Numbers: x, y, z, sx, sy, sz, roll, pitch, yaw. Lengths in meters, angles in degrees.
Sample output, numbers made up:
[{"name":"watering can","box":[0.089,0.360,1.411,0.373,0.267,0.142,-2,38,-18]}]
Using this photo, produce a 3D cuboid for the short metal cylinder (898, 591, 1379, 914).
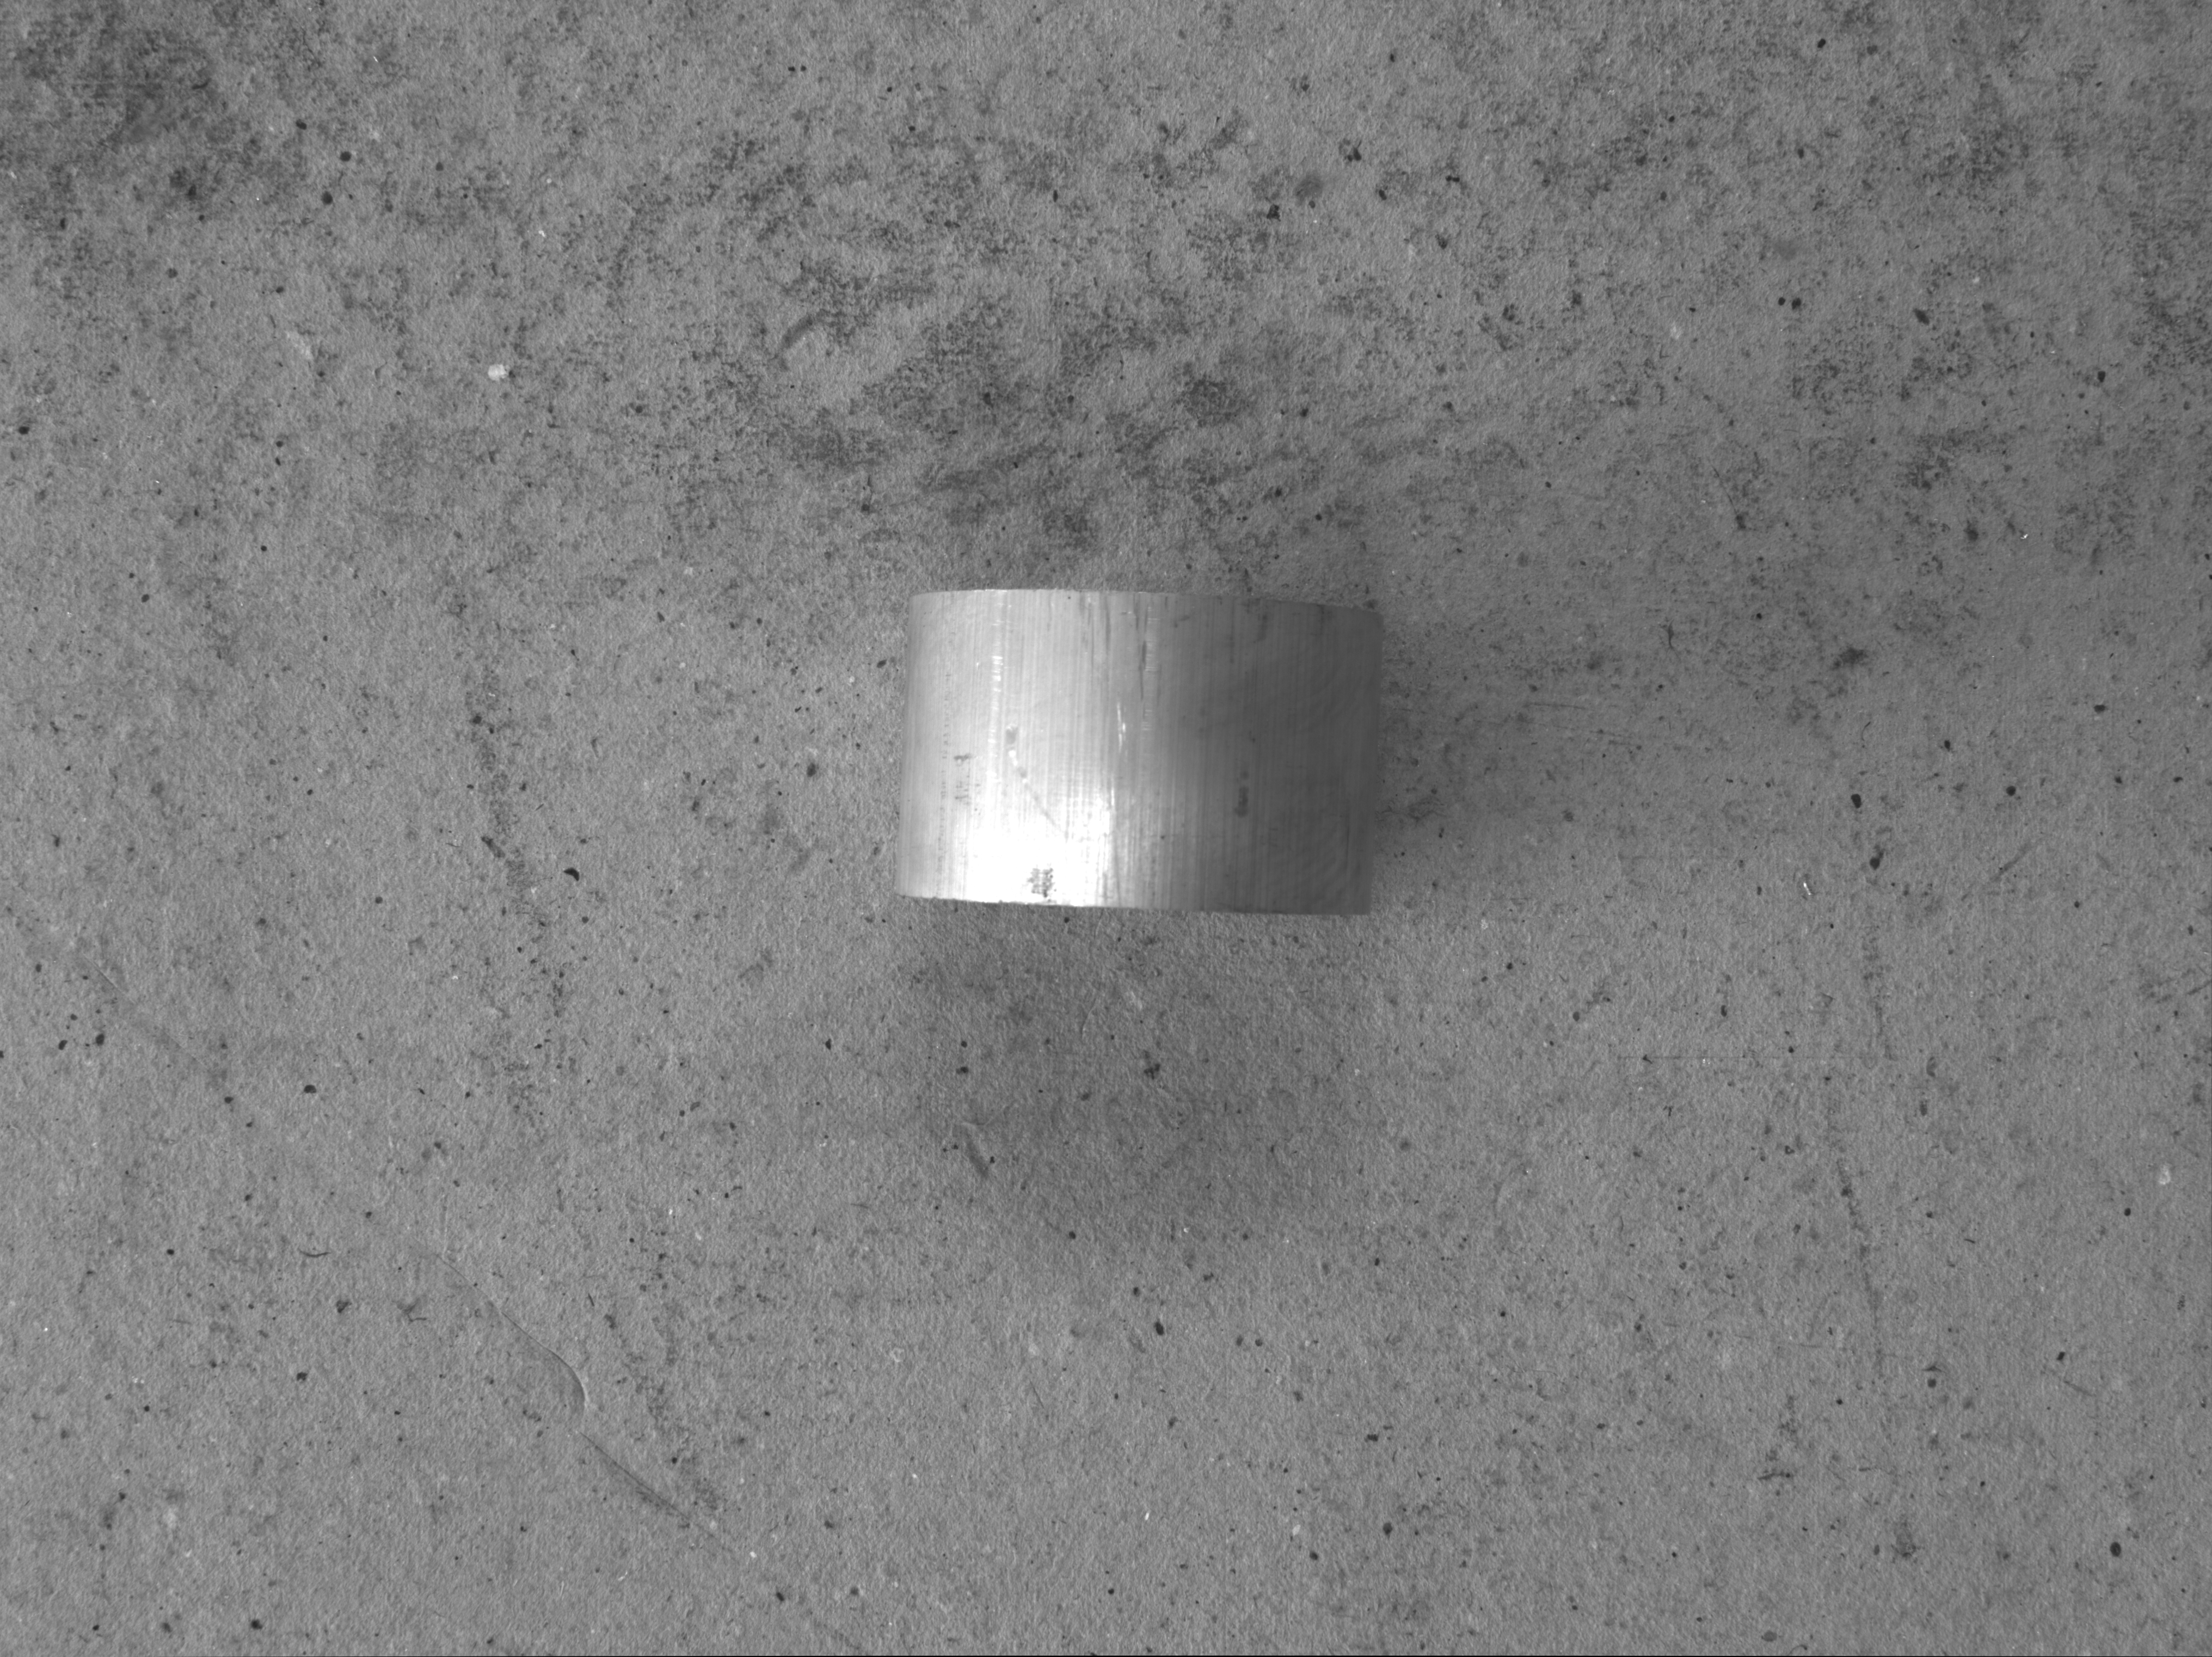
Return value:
[{"name":"short metal cylinder","box":[0.006,-0.012,0.619,0.080,0.080,0.050,2,90,0]}]
